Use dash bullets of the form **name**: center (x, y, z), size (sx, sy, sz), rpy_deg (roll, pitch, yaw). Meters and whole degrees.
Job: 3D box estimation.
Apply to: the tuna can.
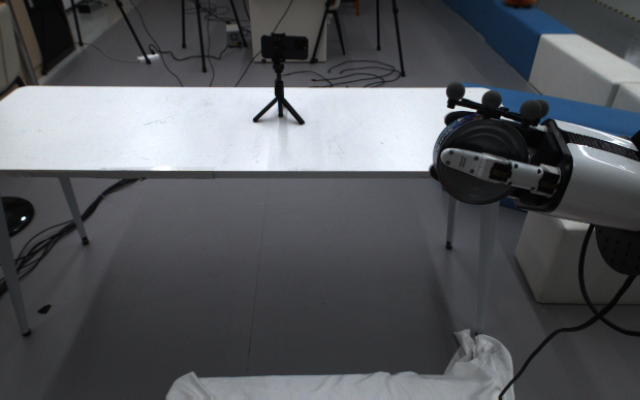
- **tuna can**: center (0.158, -0.044, 0.478), size (0.085, 0.085, 0.034), rpy_deg (4, 19, 3)
